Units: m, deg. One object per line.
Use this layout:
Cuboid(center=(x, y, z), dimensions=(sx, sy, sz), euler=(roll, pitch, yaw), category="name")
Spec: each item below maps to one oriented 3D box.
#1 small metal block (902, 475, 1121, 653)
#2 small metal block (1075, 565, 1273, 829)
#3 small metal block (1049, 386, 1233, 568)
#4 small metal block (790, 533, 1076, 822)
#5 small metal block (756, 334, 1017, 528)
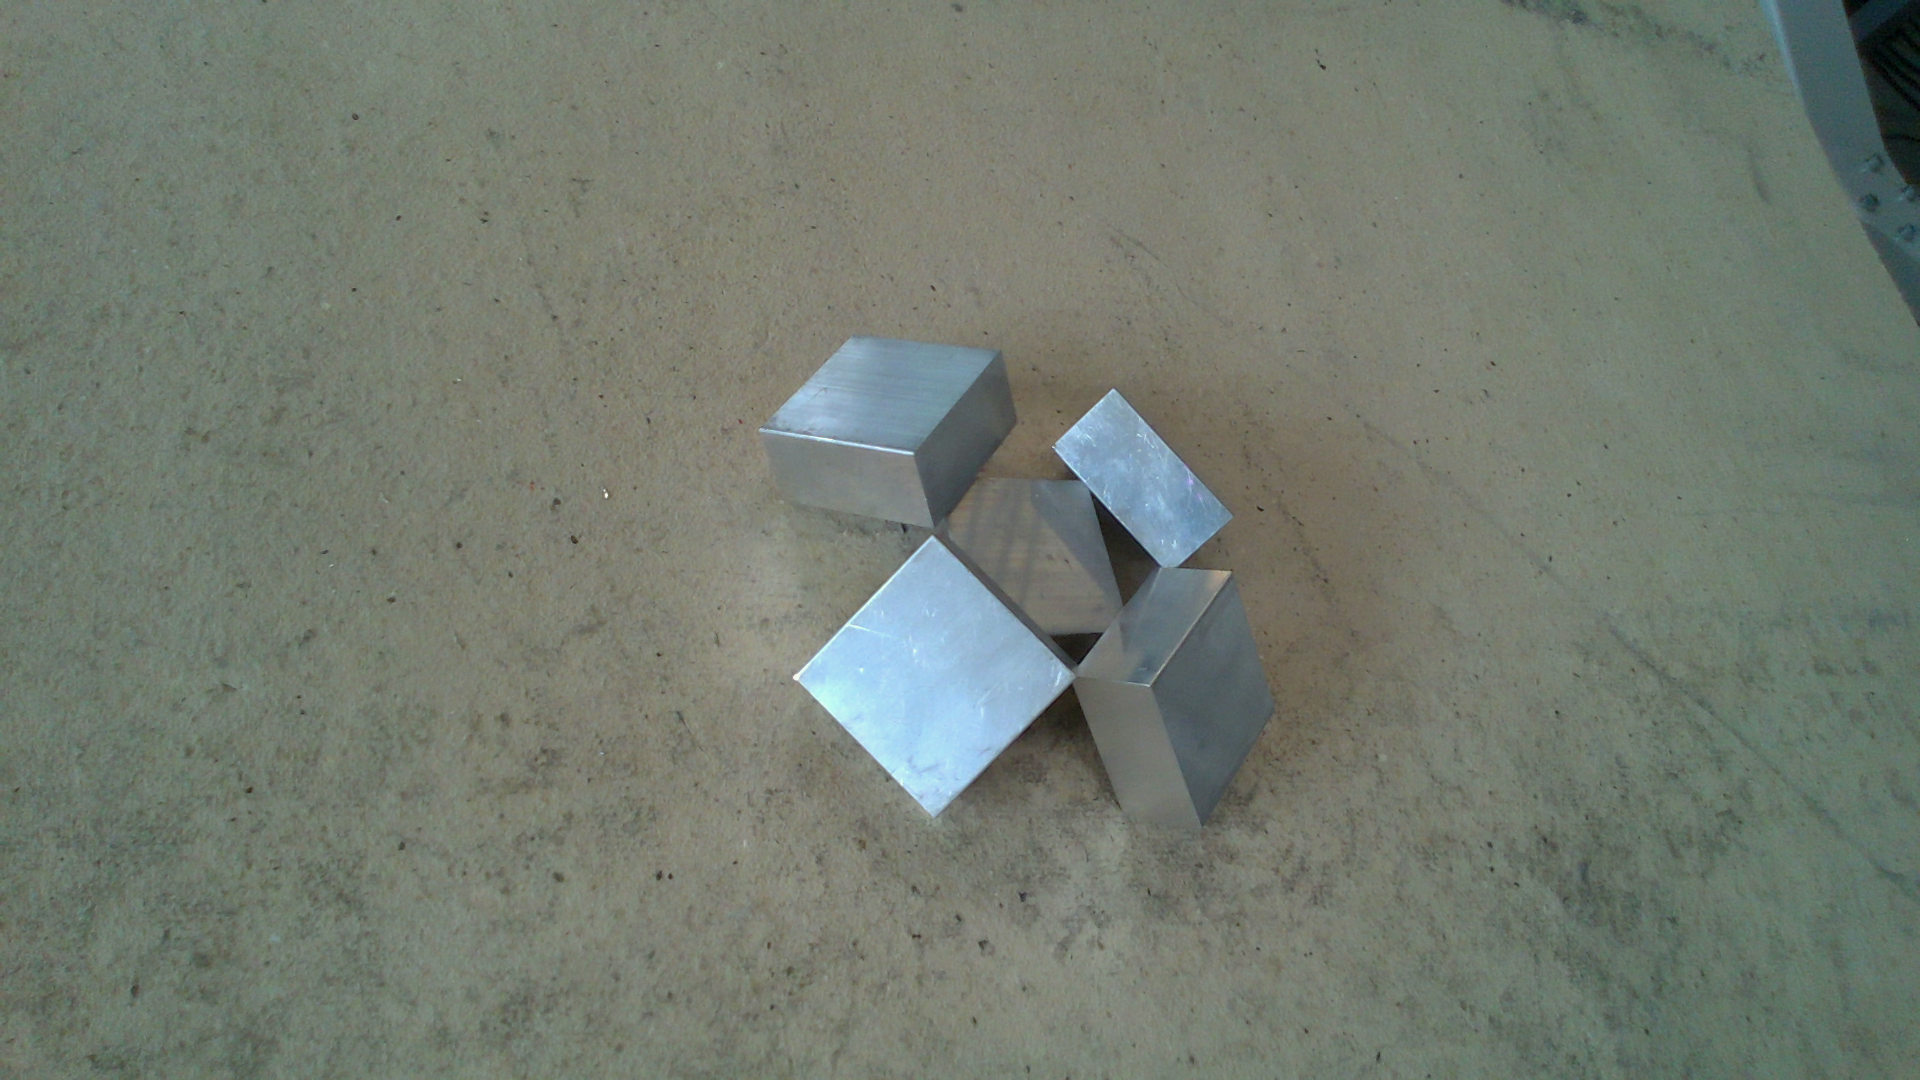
Cuboid(center=(0.015, 0.009, 0.392), dimensions=(0.050, 0.025, 0.050), euler=(0, 61, -30), category="small metal block")
Cuboid(center=(0.060, 0.042, 0.380), dimensions=(0.050, 0.025, 0.050), euler=(-47, 126, -39), category="small metal block")
Cuboid(center=(0.056, -0.018, 0.416), dimensions=(0.050, 0.025, 0.050), euler=(48, 11, 5), category="small metal block")
Cuboid(center=(-0.006, 0.034, 0.349), dimensions=(0.050, 0.025, 0.050), euler=(45, 94, 3), category="small metal block")
Cuboid(center=(-0.019, -0.032, 0.383), dimensions=(0.050, 0.025, 0.050), euler=(10, 43, 29), category="small metal block")
